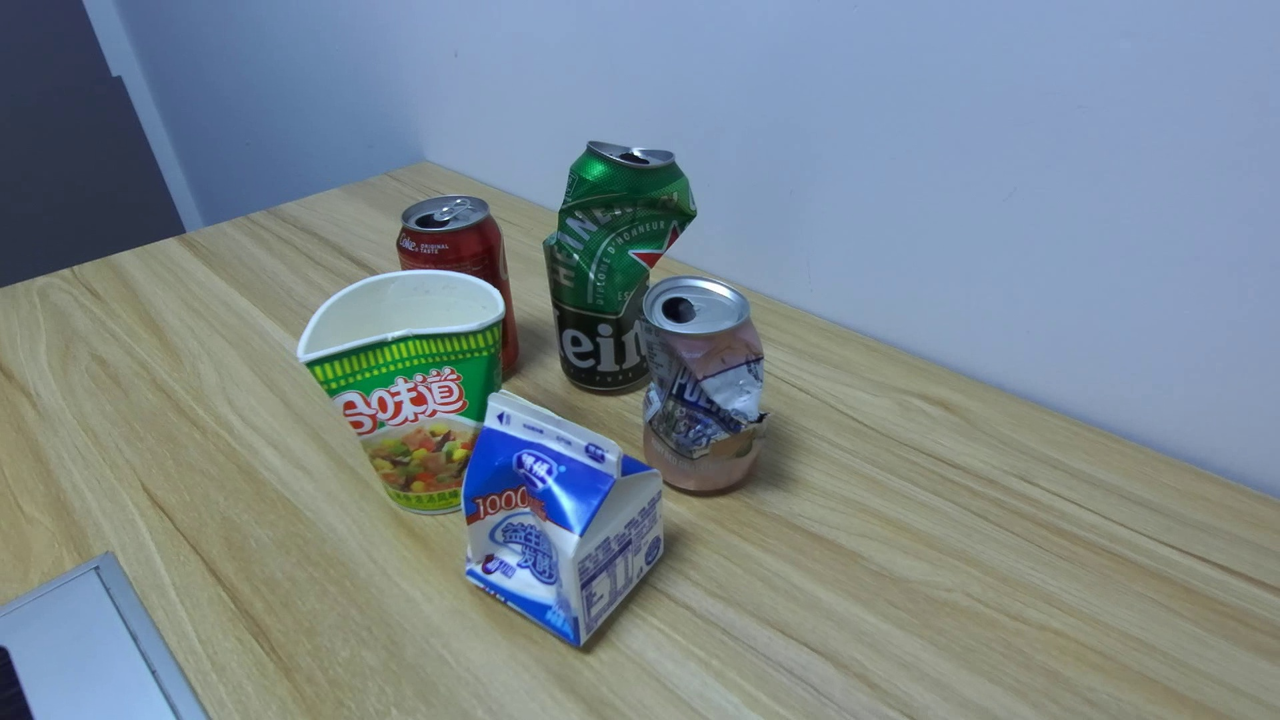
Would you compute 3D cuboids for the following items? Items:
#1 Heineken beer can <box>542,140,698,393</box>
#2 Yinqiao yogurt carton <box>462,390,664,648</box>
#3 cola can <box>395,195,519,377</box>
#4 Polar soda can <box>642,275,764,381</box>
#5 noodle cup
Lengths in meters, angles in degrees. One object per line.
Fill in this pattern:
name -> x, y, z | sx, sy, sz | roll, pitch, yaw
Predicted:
Heineken beer can -> -0.017, -0.055, 0.447 | 0.067, 0.159, 0.079 | 30, 39, 35
Yinqiao yogurt carton -> -0.036, 0.064, 0.329 | 0.077, 0.094, 0.071 | 20, 34, 28
cola can -> -0.121, -0.045, 0.471 | 0.068, 0.120, 0.068 | -1, 34, 1
Polar soda can -> 0.033, 0.015, 0.380 | 0.074, 0.114, 0.070 | 4, 41, 13
noodle cup -> -0.113, 0.019, 0.384 | 0.094, 0.109, 0.087 | 1, 35, 3
